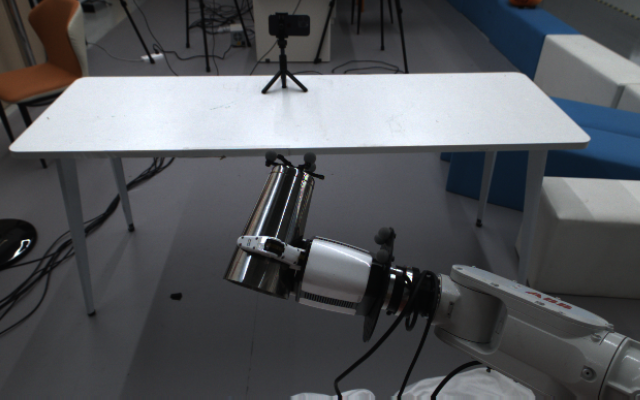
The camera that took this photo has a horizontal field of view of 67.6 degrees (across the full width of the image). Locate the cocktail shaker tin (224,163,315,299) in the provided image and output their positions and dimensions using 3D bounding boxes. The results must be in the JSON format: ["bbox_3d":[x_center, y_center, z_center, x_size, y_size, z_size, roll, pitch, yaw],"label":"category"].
[{"bbox_3d":[-0.063,0.042,0.671,0.093,0.093,0.170,13,73,15],"label":"cocktail shaker tin"}]
